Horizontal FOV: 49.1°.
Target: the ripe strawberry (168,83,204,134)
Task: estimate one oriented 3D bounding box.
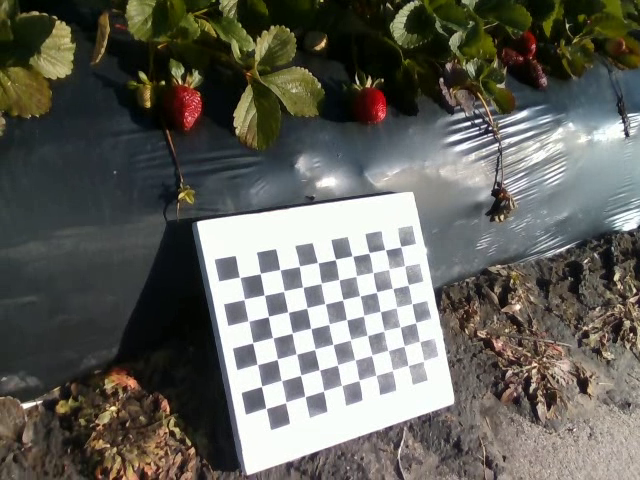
[{"bbox_3d":[-0.126,-0.125,0.659,0.041,0.043,0.053,4,39,-32],"label":"ripe strawberry"}]

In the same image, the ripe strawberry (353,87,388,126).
[{"bbox_3d":[0.057,-0.144,0.754,0.042,0.043,0.050,30,23,-26],"label":"ripe strawberry"}]
